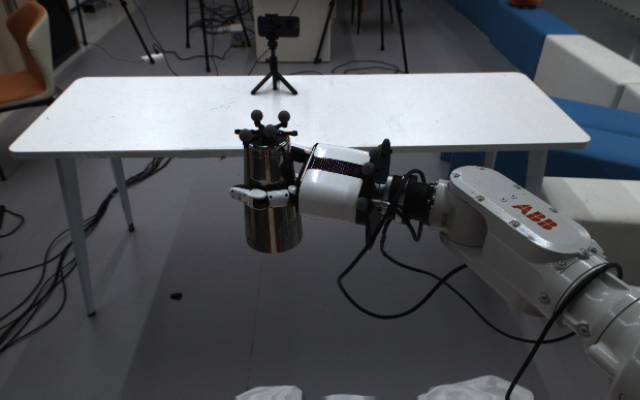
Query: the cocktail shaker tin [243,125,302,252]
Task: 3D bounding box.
[{"bbox_3d":[-0.072,-0.016,0.726,0.093,0.170,0.093,-1,32,0],"label":"cocktail shaker tin"}]
